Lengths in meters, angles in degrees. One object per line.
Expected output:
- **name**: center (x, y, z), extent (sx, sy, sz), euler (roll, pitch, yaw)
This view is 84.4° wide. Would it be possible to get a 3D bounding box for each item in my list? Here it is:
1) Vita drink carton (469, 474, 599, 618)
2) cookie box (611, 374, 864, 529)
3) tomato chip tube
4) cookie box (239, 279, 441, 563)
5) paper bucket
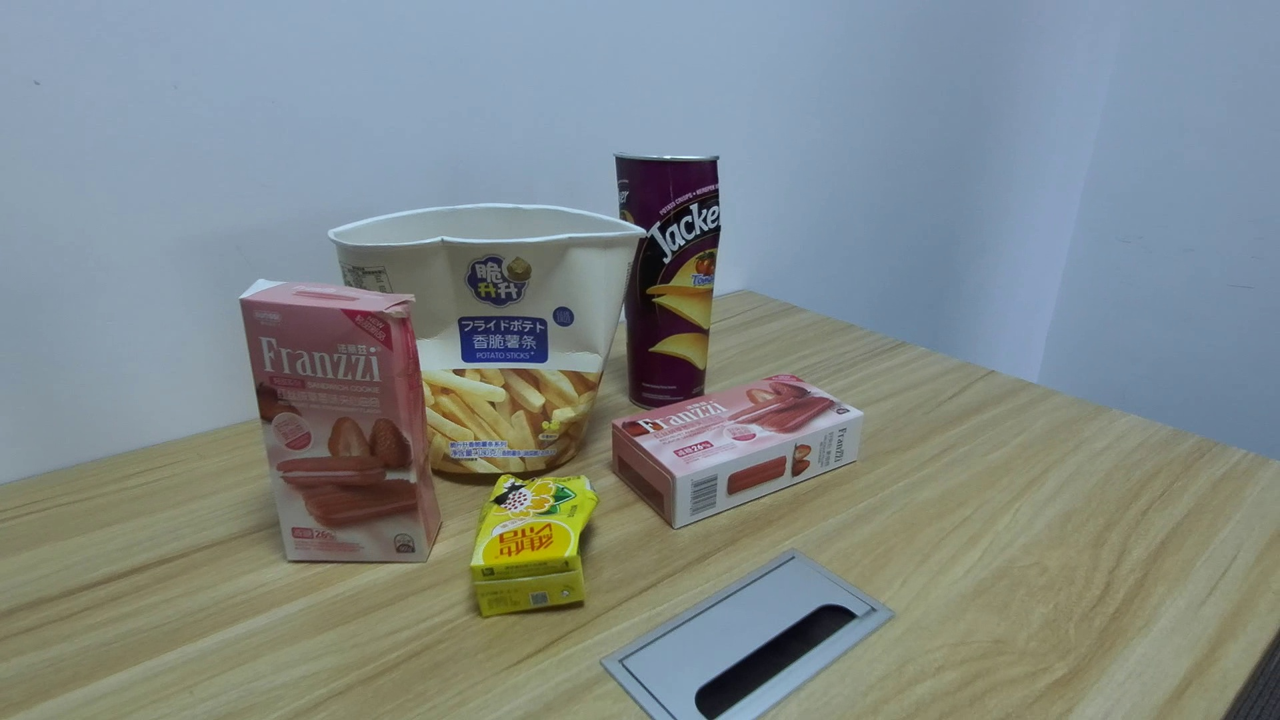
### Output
- **Vita drink carton**: center (-0.069, 0.117, 0.466), extent (0.087, 0.042, 0.108), euler (-8, 19, 1)
- **cookie box**: center (0.079, 0.066, 0.572), extent (0.185, 0.048, 0.095), euler (-14, 27, -28)
- **tomato chip tube**: center (0.026, -0.072, 0.663), extent (0.076, 0.235, 0.077), euler (-11, 24, -24)
- **cookie box**: center (-0.187, 0.044, 0.458), extent (0.118, 0.184, 0.055), euler (2, 23, 5)
- **paper bucket**: center (-0.117, -0.019, 0.587), extent (0.219, 0.199, 0.147), euler (-14, 26, -27)
